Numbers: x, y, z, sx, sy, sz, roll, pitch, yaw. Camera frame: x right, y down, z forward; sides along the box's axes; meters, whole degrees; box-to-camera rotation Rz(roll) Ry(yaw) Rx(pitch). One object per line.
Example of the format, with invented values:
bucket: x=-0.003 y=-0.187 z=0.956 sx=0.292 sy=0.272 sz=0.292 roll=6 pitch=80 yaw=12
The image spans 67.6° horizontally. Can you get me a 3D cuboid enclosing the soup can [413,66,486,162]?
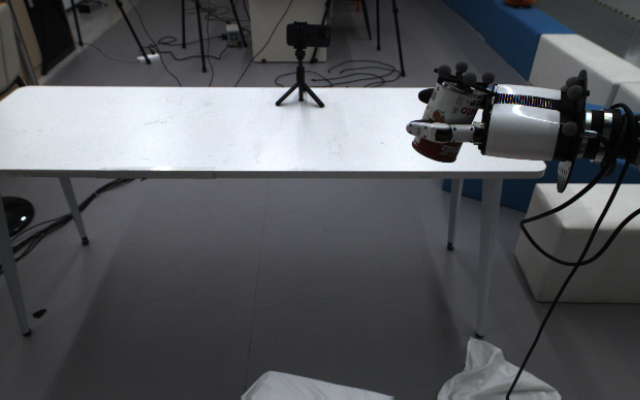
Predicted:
soup can: x=0.178 y=-0.113 z=0.675 sx=0.067 sy=0.101 sz=0.067 roll=13 pitch=30 yaw=-8
